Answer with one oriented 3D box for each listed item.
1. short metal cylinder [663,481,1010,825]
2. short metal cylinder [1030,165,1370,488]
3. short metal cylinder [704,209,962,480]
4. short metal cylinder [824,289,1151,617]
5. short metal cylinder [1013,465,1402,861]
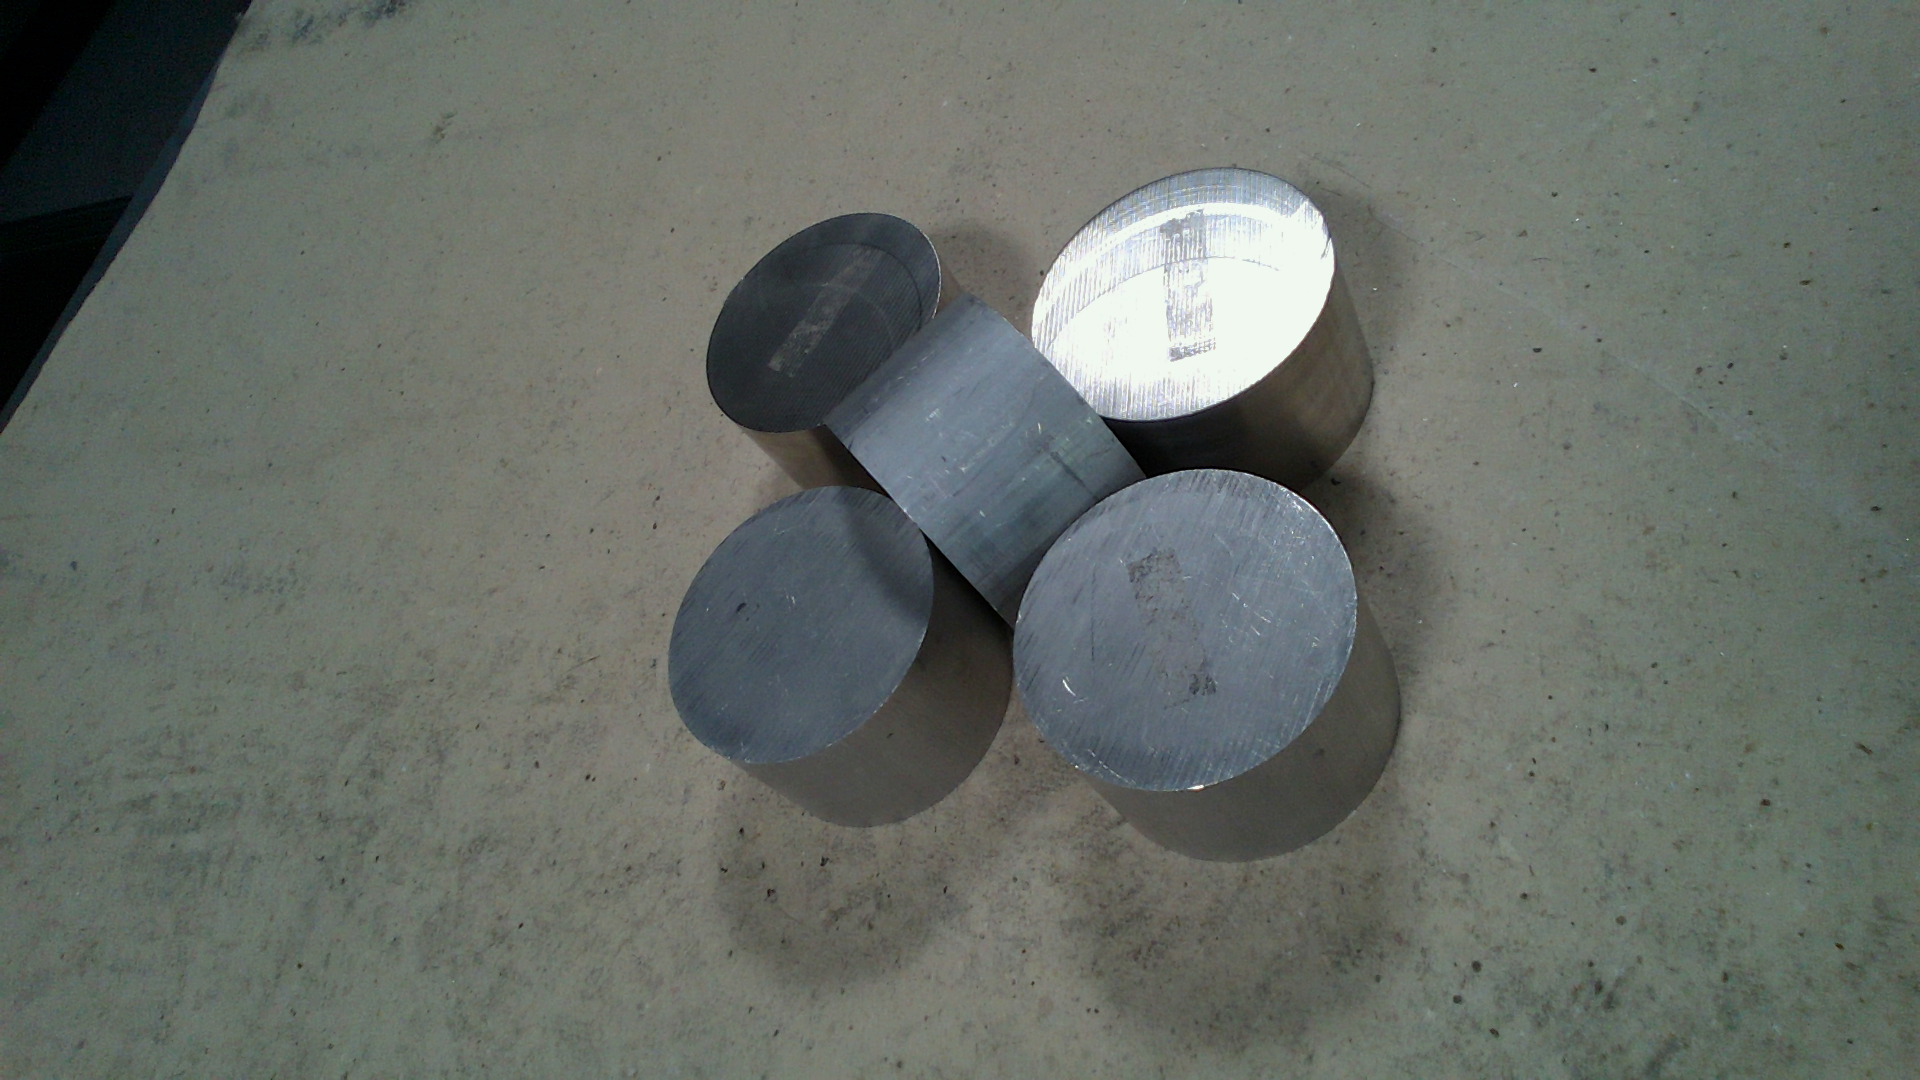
[{"bbox_3d":[-0.033,0.031,0.375,0.080,0.050,0.080,-14,56,21],"label":"short metal cylinder"},{"bbox_3d":[0.065,-0.054,0.373,0.080,0.050,0.080,-14,56,21],"label":"short metal cylinder"},{"bbox_3d":[-0.032,-0.055,0.427,0.080,0.050,0.080,-14,56,21],"label":"short metal cylinder"},{"bbox_3d":[0.010,-0.020,0.366,0.050,0.080,0.080,-43,51,-1],"label":"short metal cylinder"},{"bbox_3d":[0.059,0.029,0.326,0.080,0.050,0.080,-14,56,21],"label":"short metal cylinder"}]
